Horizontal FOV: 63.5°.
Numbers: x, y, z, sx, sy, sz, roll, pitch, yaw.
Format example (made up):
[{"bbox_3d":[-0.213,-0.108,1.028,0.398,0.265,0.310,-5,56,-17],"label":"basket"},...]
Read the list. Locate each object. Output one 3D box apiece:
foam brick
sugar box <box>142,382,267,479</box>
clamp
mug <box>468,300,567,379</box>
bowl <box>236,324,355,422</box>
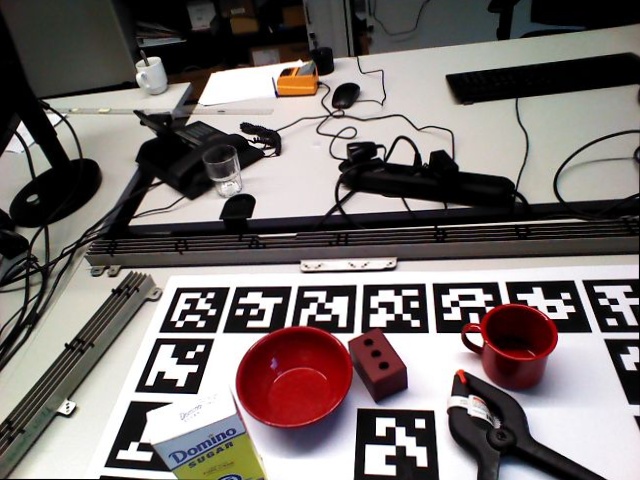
[{"bbox_3d":[0.089,0.167,0.713,0.053,0.051,0.078,-22,44,-10],"label":"foam brick"},{"bbox_3d":[-0.124,0.236,0.585,0.093,0.177,0.045,-19,44,-10],"label":"sugar box"},{"bbox_3d":[0.214,0.226,0.611,0.165,0.037,0.202,-20,43,-6],"label":"clamp"},{"bbox_3d":[0.255,0.124,0.686,0.118,0.082,0.092,19,50,25],"label":"mug"},{"bbox_3d":[-0.030,0.186,0.708,0.162,0.055,0.161,-6,42,5],"label":"bowl"}]
